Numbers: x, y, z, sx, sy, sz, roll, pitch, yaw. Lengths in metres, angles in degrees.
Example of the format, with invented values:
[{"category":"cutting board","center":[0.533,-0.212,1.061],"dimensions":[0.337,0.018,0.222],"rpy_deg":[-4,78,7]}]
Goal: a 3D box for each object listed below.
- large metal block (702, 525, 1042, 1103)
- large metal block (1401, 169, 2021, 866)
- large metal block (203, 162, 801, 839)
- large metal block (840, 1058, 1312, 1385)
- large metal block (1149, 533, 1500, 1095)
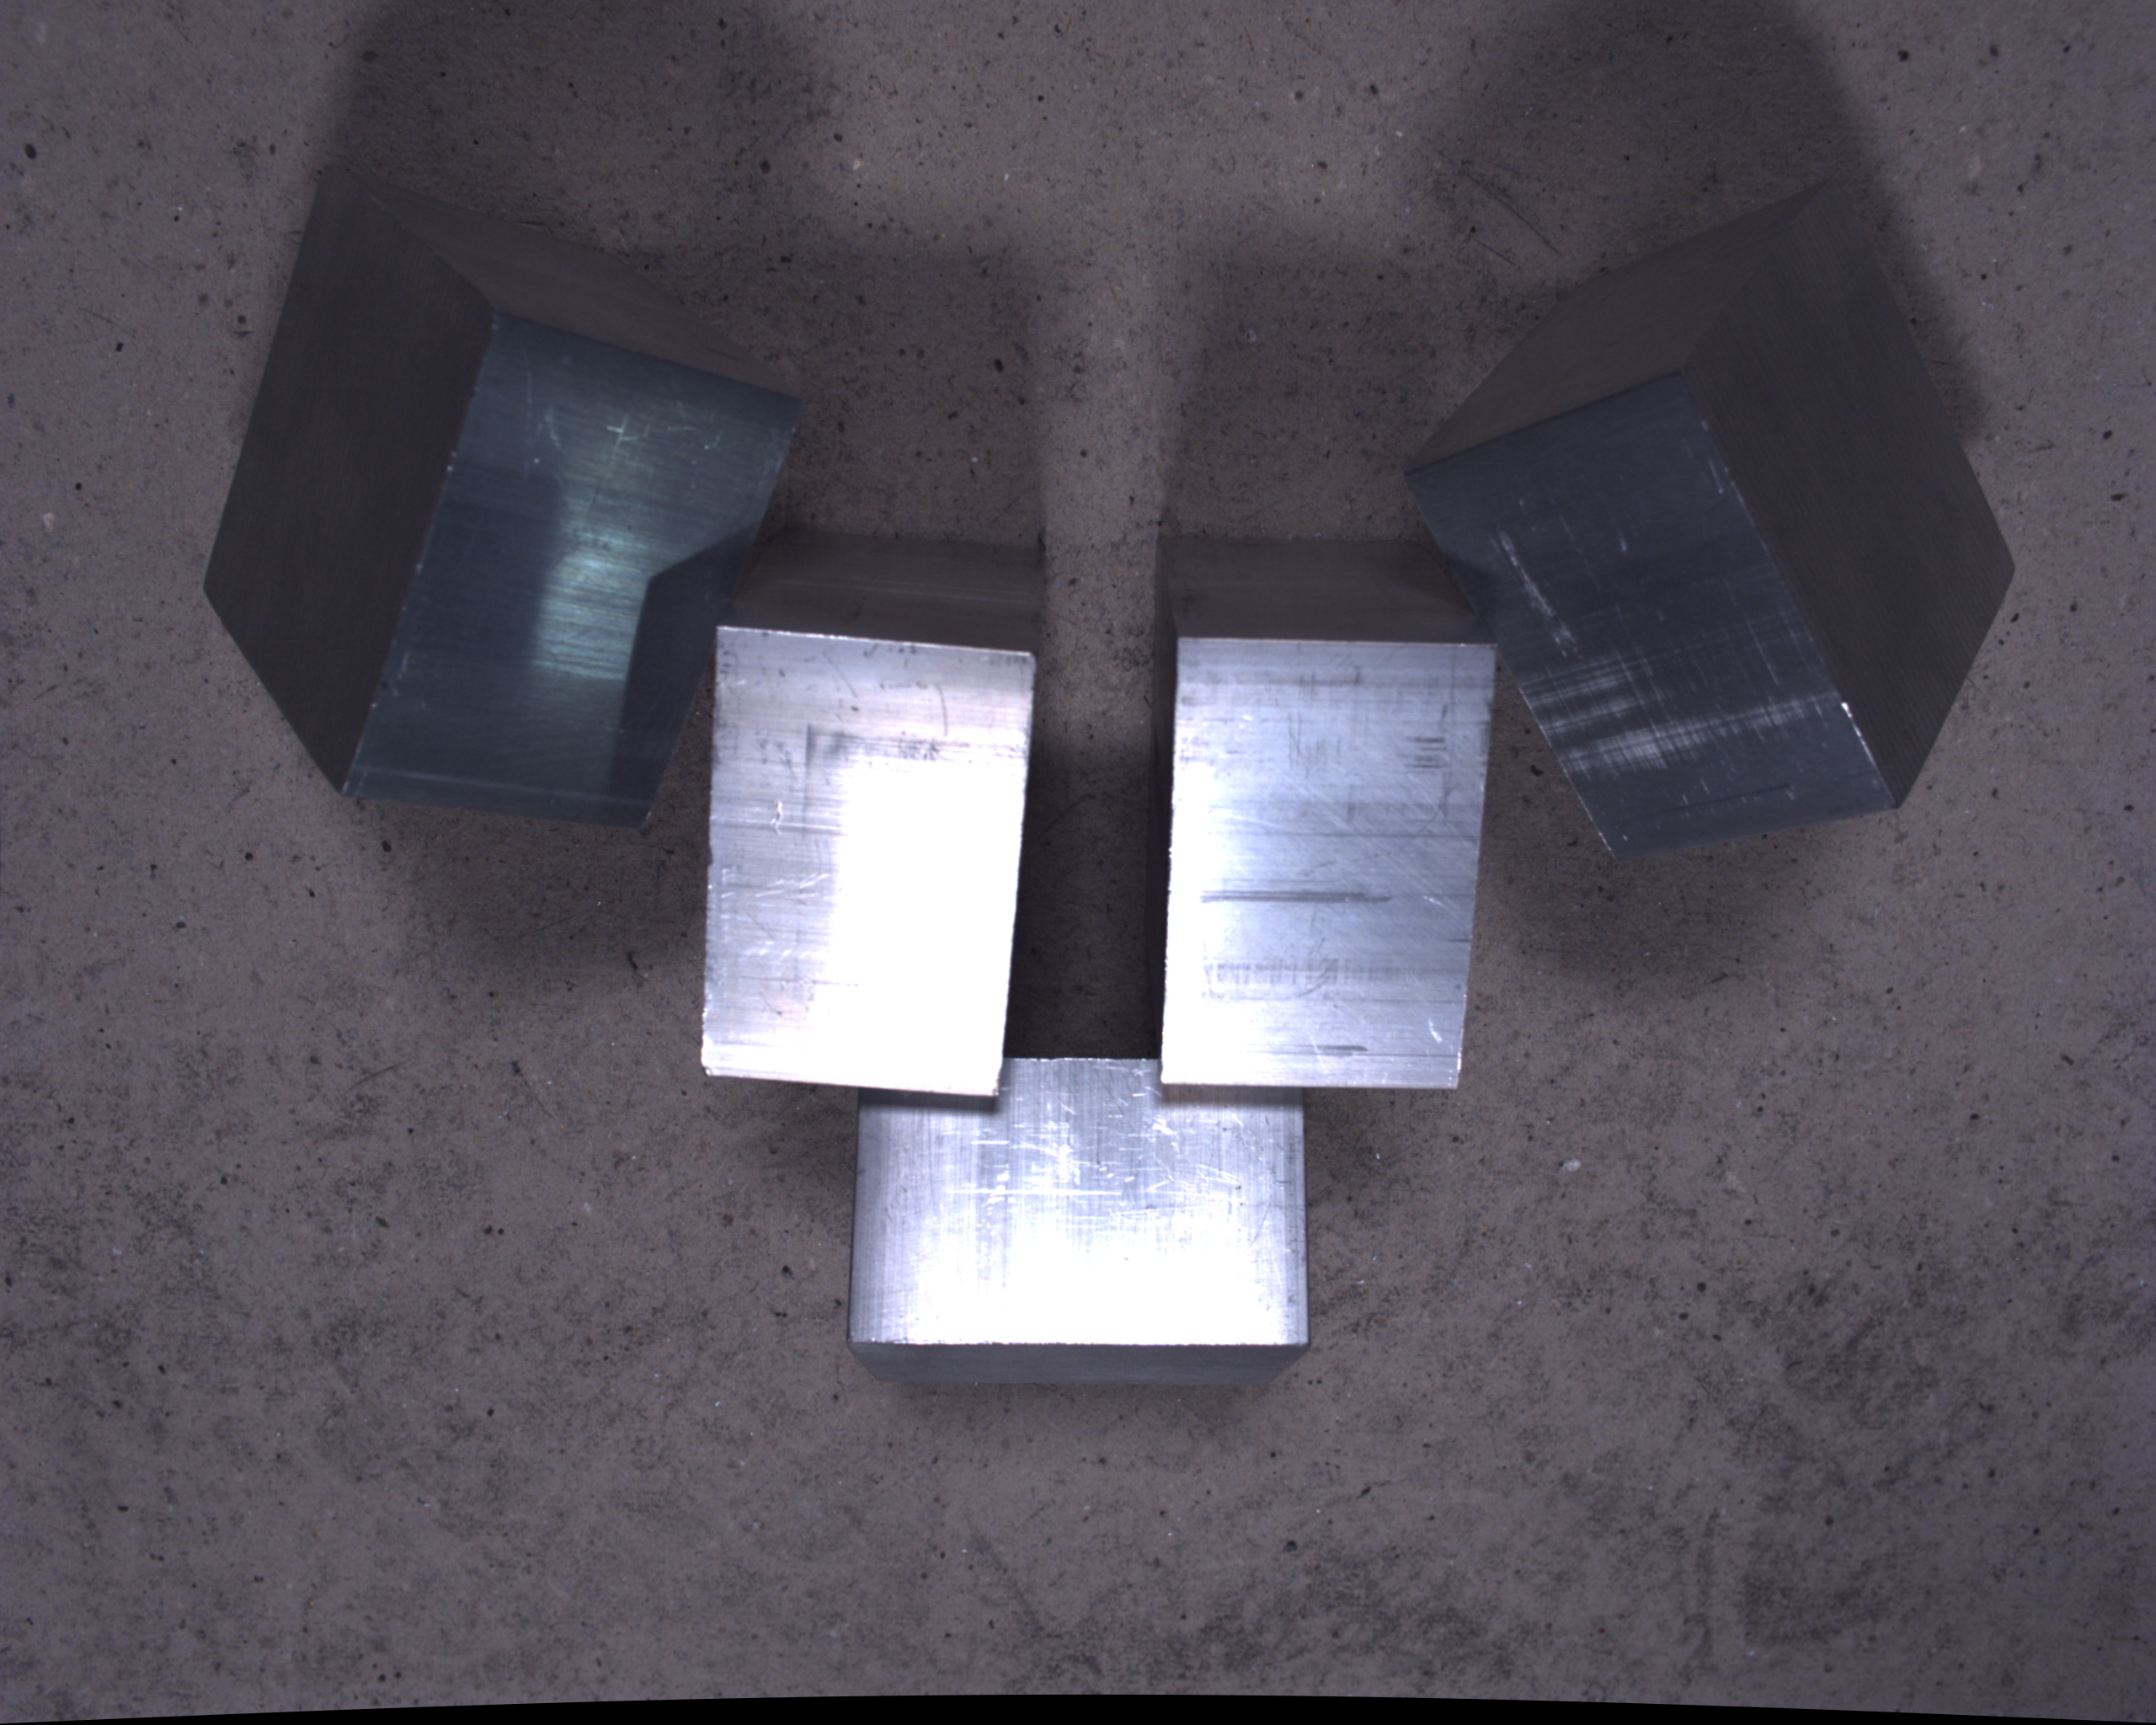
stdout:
[{"category":"large metal block","center":[-0.035,-0.012,0.377],"dimensions":[0.050,0.080,0.079],"rpy_deg":[5,110,-2]},{"category":"large metal block","center":[0.111,-0.058,0.355],"dimensions":[0.050,0.080,0.080],"rpy_deg":[-15,114,45]},{"category":"large metal block","center":[-0.100,-0.060,0.349],"dimensions":[0.050,0.080,0.079],"rpy_deg":[7,115,-42]},{"category":"large metal block","center":[0.000,0.071,0.401],"dimensions":[0.081,0.080,0.050],"rpy_deg":[1,71,-1]},{"category":"large metal block","center":[0.040,-0.012,0.378],"dimensions":[0.050,0.080,0.079],"rpy_deg":[1,110,-1]}]
